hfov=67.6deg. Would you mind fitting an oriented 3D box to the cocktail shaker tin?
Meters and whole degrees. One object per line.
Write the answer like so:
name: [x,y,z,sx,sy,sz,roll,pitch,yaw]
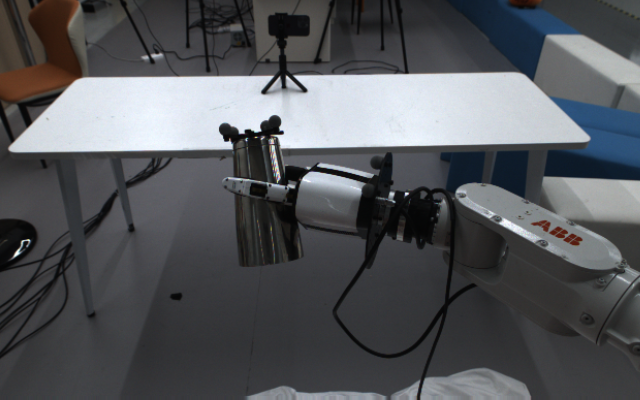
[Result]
cocktail shaker tin: [-0.080,0.001,0.678,0.093,0.170,0.093,-8,1,0]
